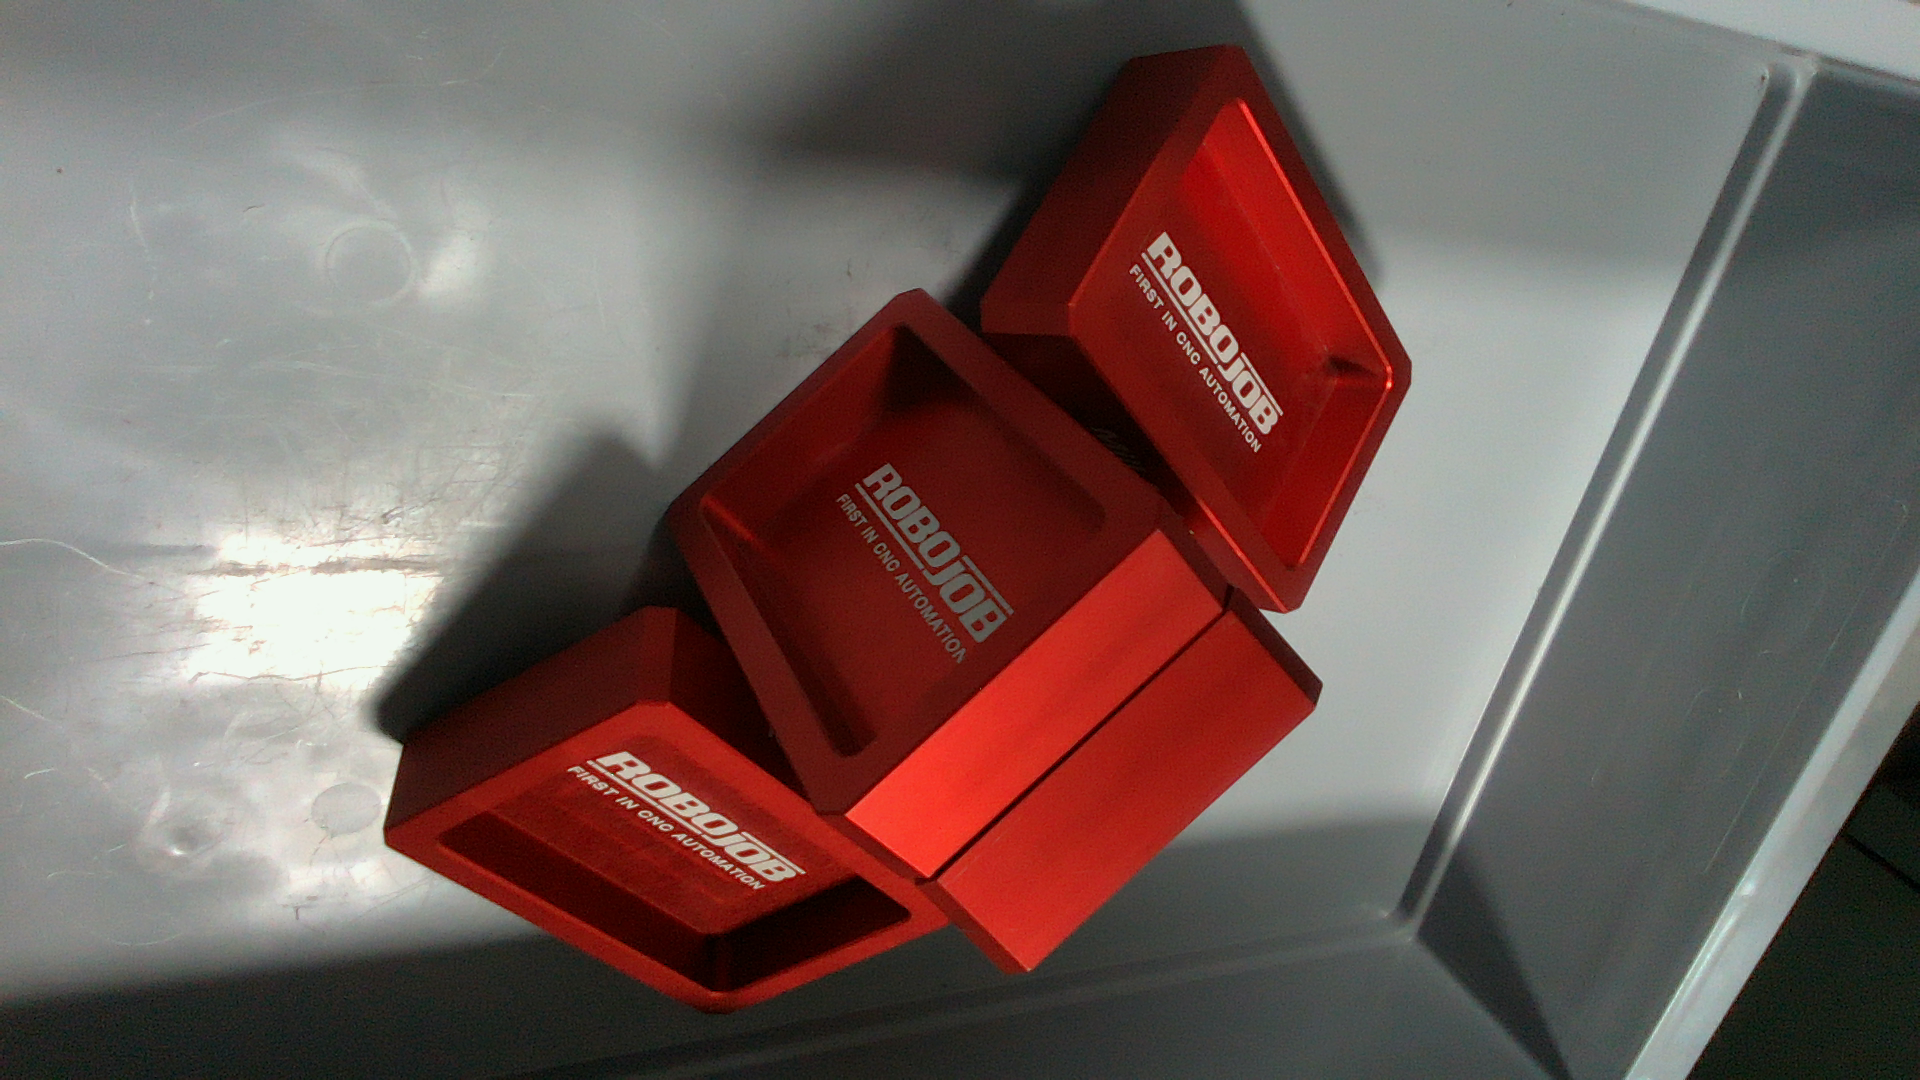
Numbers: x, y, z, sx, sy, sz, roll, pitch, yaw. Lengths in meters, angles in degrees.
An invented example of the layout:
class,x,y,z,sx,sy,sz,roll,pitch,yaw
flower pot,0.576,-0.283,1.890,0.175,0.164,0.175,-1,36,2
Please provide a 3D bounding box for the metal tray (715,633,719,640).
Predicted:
class,x,y,z,sx,sy,sz,roll,pitch,yaw
metal tray,0.006,0.017,0.398,0.130,0.030,0.090,-43,129,2

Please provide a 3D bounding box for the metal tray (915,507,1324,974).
class,x,y,z,sx,sy,sz,roll,pitch,yaw
metal tray,0.023,0.037,0.340,0.090,0.130,0.030,-43,106,1

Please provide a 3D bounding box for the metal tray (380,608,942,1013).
class,x,y,z,sx,sy,sz,roll,pitch,yaw
metal tray,-0.073,0.079,0.371,0.090,0.030,0.130,-27,132,20

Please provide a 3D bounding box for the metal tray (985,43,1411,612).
class,x,y,z,sx,sy,sz,roll,pitch,yaw
metal tray,0.070,-0.052,0.368,0.130,0.030,0.090,45,67,-39

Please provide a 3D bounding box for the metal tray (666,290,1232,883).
class,x,y,z,sx,sy,sz,roll,pitch,yaw
metal tray,-0.011,0.003,0.314,0.090,0.130,0.030,-42,128,1
